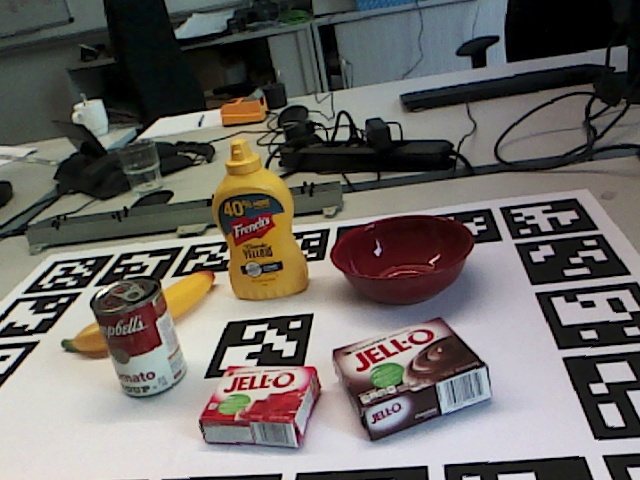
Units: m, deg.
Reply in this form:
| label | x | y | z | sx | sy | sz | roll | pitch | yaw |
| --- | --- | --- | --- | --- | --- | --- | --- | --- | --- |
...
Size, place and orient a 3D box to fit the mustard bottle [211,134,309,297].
| label | x | y | z | sx | sy | sz | roll | pitch | yaw |
| --- | --- | --- | --- | --- | --- | --- | --- | --- | --- |
| mustard bottle | -0.075 | -0.029 | 0.724 | 0.096 | 0.191 | 0.058 | -6 | 22 | 10 |

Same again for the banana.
| label | x | y | z | sx | sy | sz | roll | pitch | yaw |
| --- | --- | --- | --- | --- | --- | --- | --- | --- | --- |
| banana | -0.209 | 0.083 | 0.750 | 0.196 | 0.039 | 0.075 | -28 | 19 | -33 |

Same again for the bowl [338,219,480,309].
| label | x | y | z | sx | sy | sz | roll | pitch | yaw |
| --- | --- | --- | --- | --- | --- | --- | --- | --- | --- |
| bowl | 0.104 | 0.033 | 0.712 | 0.162 | 0.055 | 0.162 | -11 | 24 | 4 |

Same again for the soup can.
| label | x | y | z | sx | sy | sz | roll | pitch | yaw |
| --- | --- | --- | --- | --- | --- | --- | --- | --- | --- |
| soup can | -0.187 | 0.091 | 0.625 | 0.068 | 0.102 | 0.068 | -7 | 23 | 3 |

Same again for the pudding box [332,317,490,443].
| label | x | y | z | sx | sy | sz | roll | pitch | yaw |
| --- | --- | --- | --- | --- | --- | --- | --- | --- | --- |
| pudding box | 0.078 | 0.120 | 0.546 | 0.113 | 0.038 | 0.090 | -17 | 31 | -12 |

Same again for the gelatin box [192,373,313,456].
| label | x | y | z | sx | sy | sz | roll | pitch | yaw |
| --- | --- | --- | --- | --- | --- | --- | --- | --- | --- |
| gelatin box | -0.058 | 0.152 | 0.547 | 0.090 | 0.030 | 0.073 | -4 | 29 | 17 |
